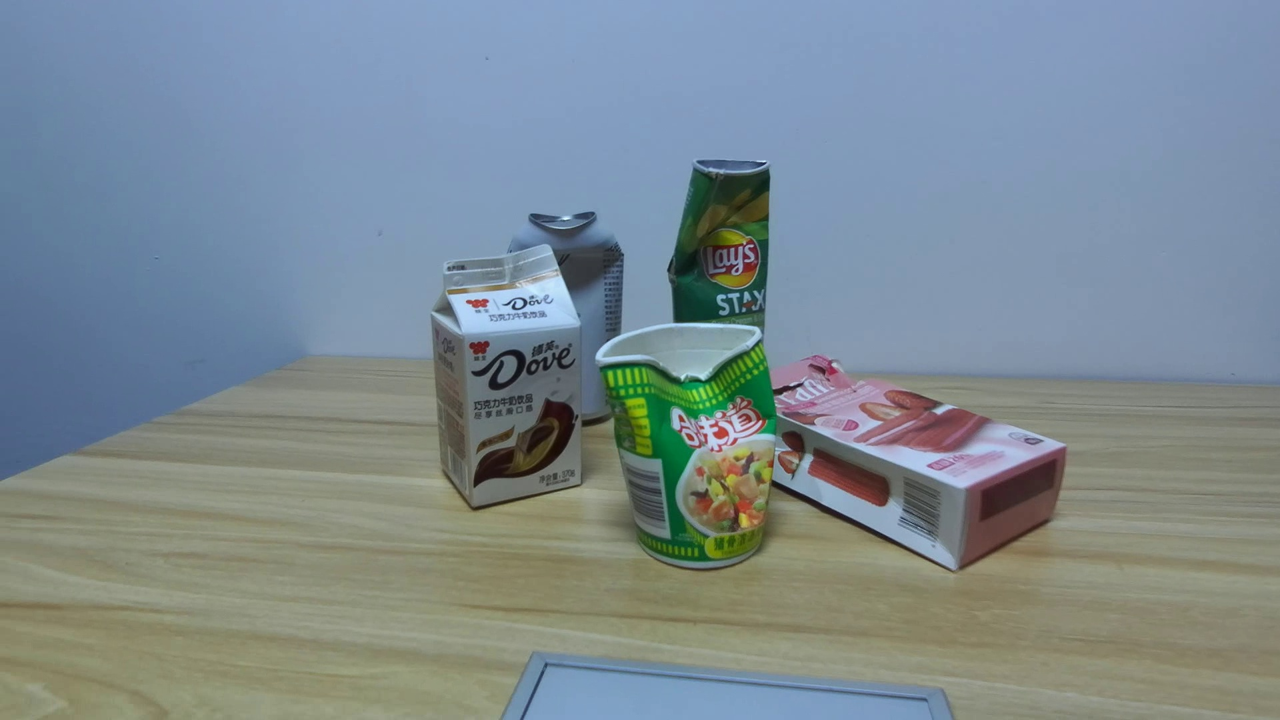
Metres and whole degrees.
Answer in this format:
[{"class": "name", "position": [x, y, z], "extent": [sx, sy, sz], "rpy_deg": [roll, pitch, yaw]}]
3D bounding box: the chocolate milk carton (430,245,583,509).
[{"class": "chocolate milk carton", "position": [-0.083, 0.006, 0.442], "extent": [0.076, 0.148, 0.073], "rpy_deg": [-7, 16, -28]}]

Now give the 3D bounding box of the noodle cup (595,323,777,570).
[{"class": "noodle cup", "position": [0.031, 0.042, 0.370], "extent": [0.083, 0.122, 0.075], "rpy_deg": [-9, 7, 5]}]

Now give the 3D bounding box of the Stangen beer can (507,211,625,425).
[{"class": "Stangen beer can", "position": [-0.057, -0.030, 0.550], "extent": [0.077, 0.162, 0.065], "rpy_deg": [-11, 14, -43]}]

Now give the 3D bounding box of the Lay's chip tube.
[{"class": "Lay's chip tube", "position": [0.063, -0.050, 0.540], "extent": [0.069, 0.201, 0.077], "rpy_deg": [2, 19, 11]}]
